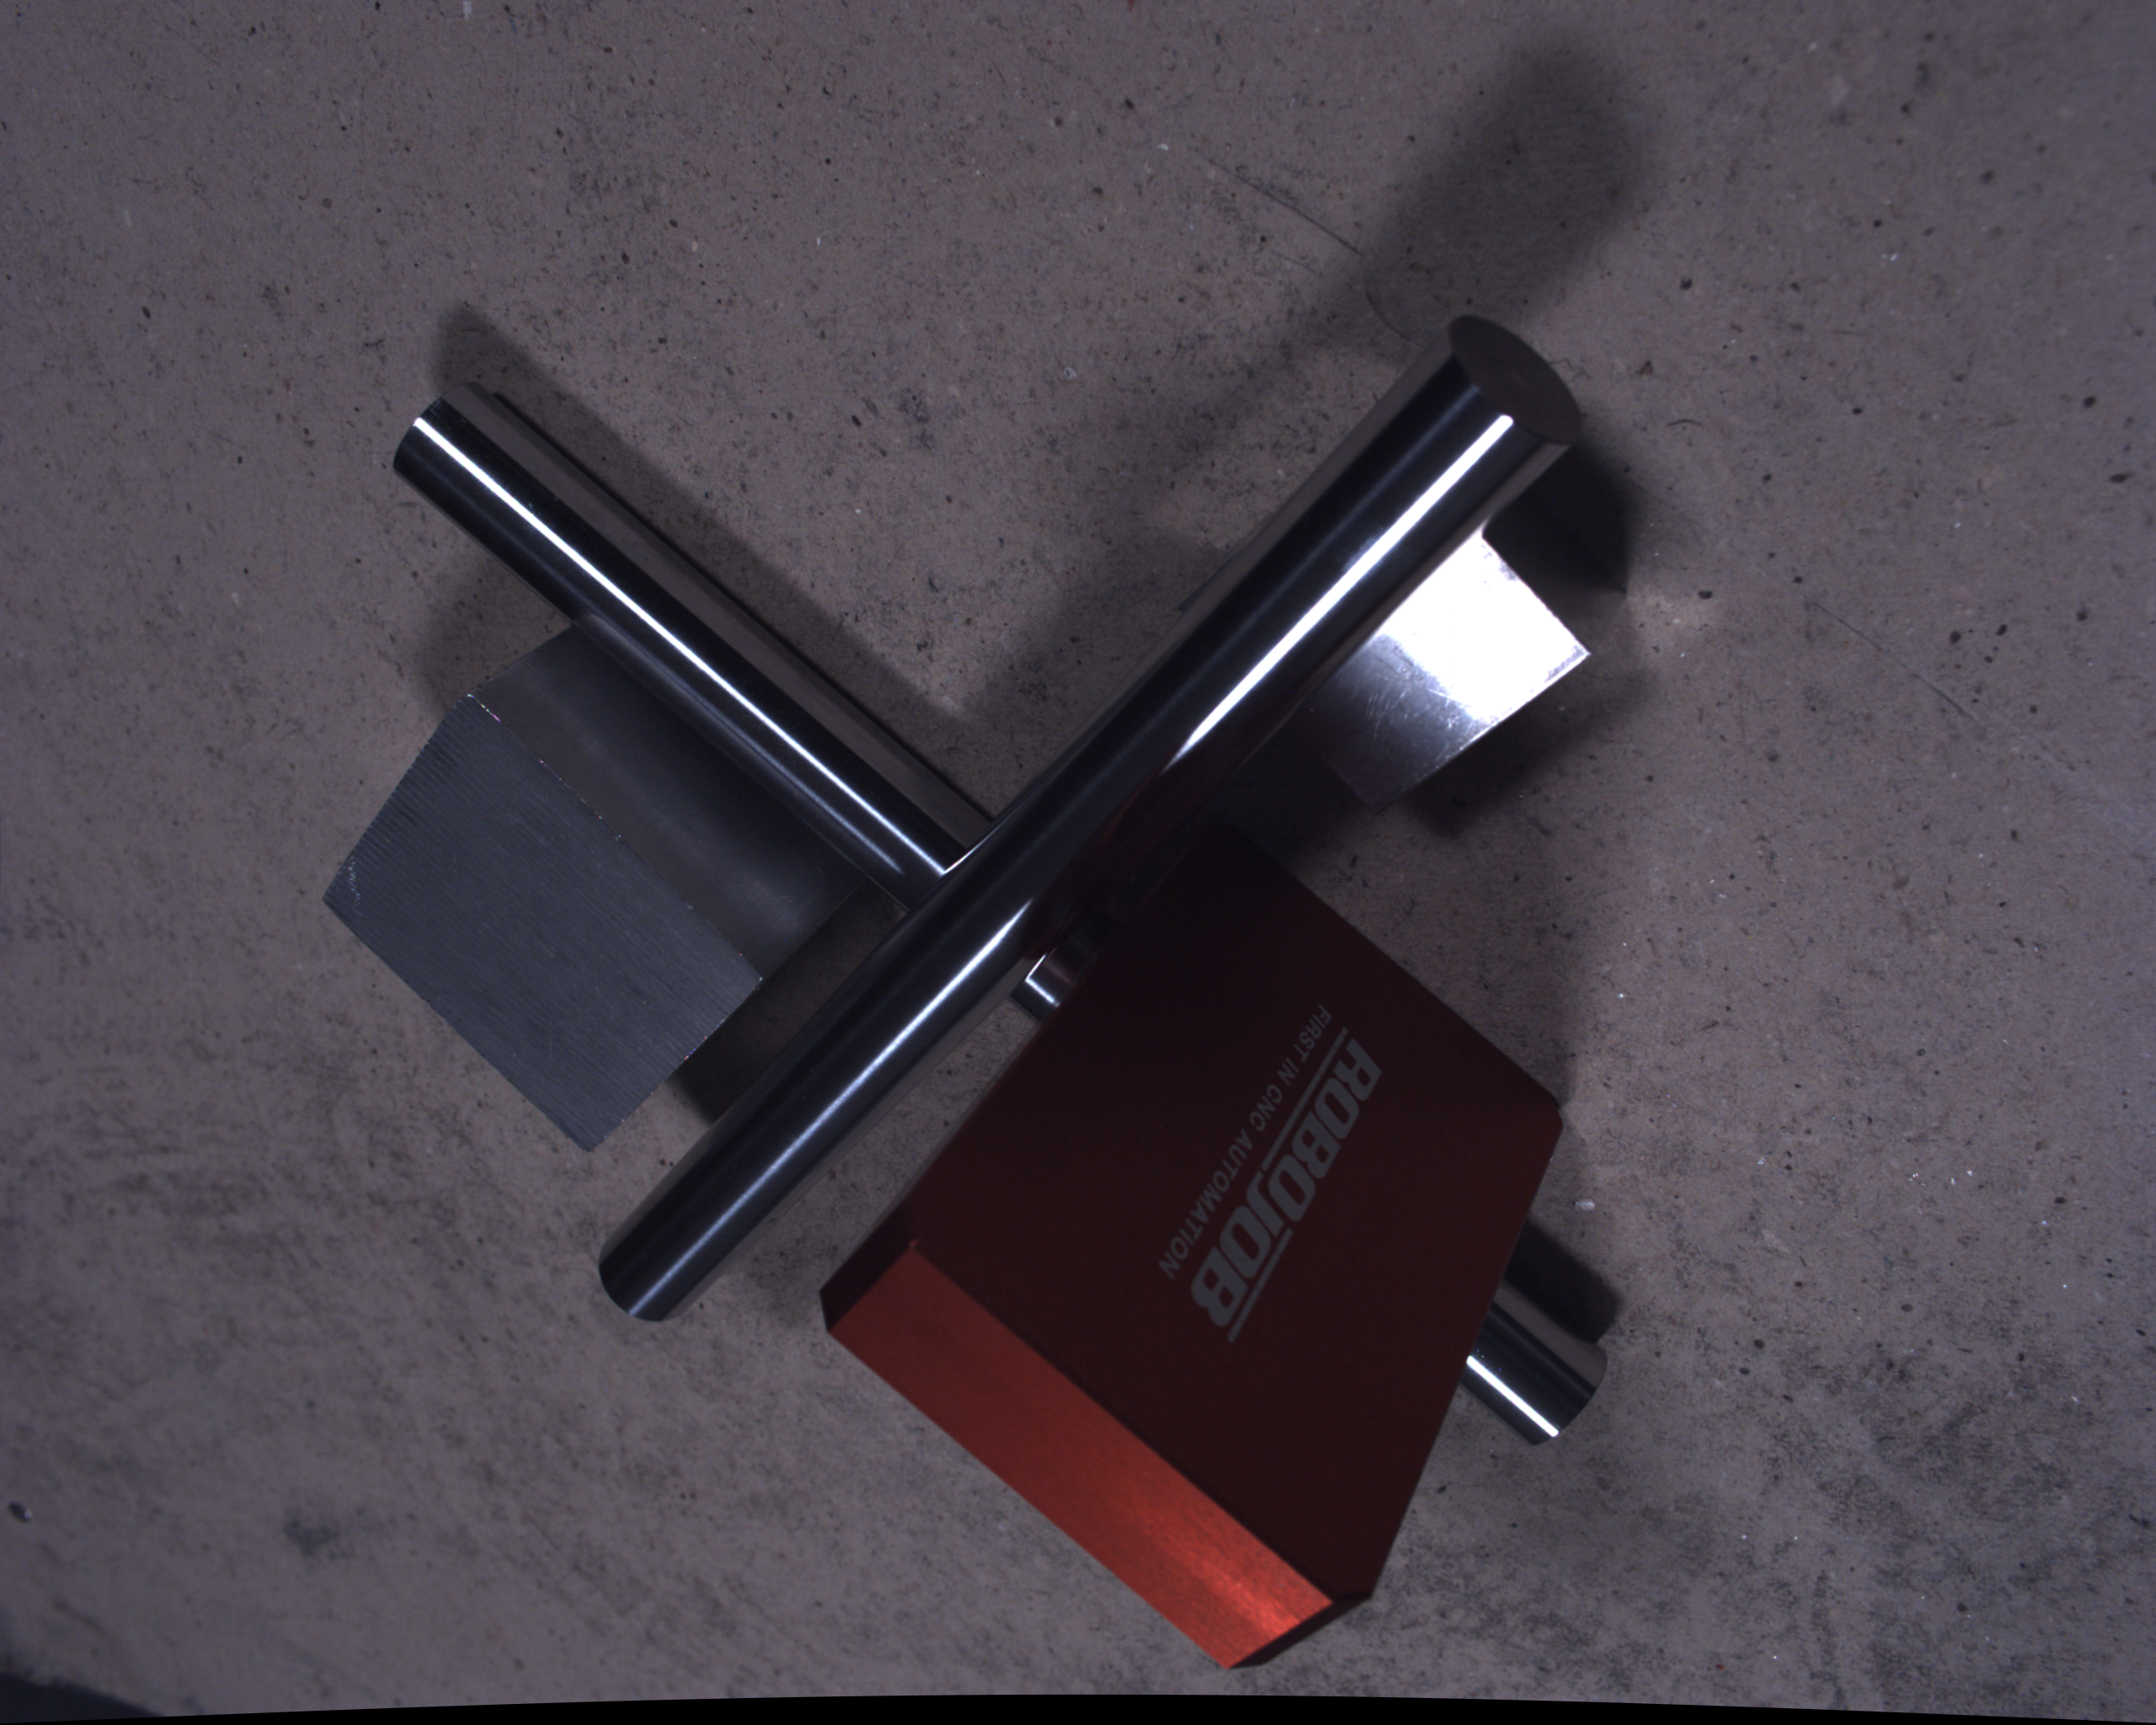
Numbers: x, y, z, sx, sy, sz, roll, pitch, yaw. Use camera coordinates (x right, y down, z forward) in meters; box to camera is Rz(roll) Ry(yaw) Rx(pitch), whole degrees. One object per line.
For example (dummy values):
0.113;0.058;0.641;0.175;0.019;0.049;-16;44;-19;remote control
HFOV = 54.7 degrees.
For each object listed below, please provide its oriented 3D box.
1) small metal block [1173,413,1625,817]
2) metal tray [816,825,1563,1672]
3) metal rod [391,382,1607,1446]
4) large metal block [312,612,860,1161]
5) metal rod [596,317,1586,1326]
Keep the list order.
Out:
0.054;-0.044;0.352;0.050;0.025;0.050;46;129;-4;small metal block
0.026;0.059;0.361;0.090;0.131;0.030;41;130;0;metal tray
-0.015;0.011;0.422;0.300;0.025;0.025;41;129;0;metal rod
-0.103;0.004;0.445;0.080;0.050;0.080;45;129;-4;large metal block
-0.019;0.014;0.392;0.025;0.025;0.298;43;129;-2;metal rod
